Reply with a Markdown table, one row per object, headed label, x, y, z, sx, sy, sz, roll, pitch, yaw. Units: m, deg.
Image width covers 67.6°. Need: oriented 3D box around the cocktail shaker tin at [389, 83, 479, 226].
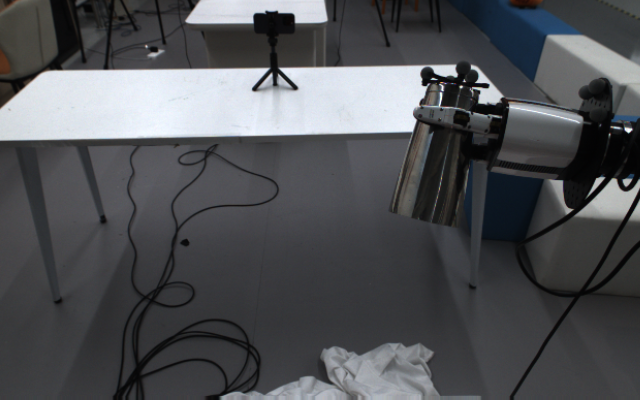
| label | x | y | z | sx | sy | sz | roll | pitch | yaw |
| --- | --- | --- | --- | --- | --- | --- | --- | --- | --- |
| cocktail shaker tin | 0.154 | -0.062 | 0.625 | 0.093 | 0.170 | 0.093 | 12 | 3 | -1 |
